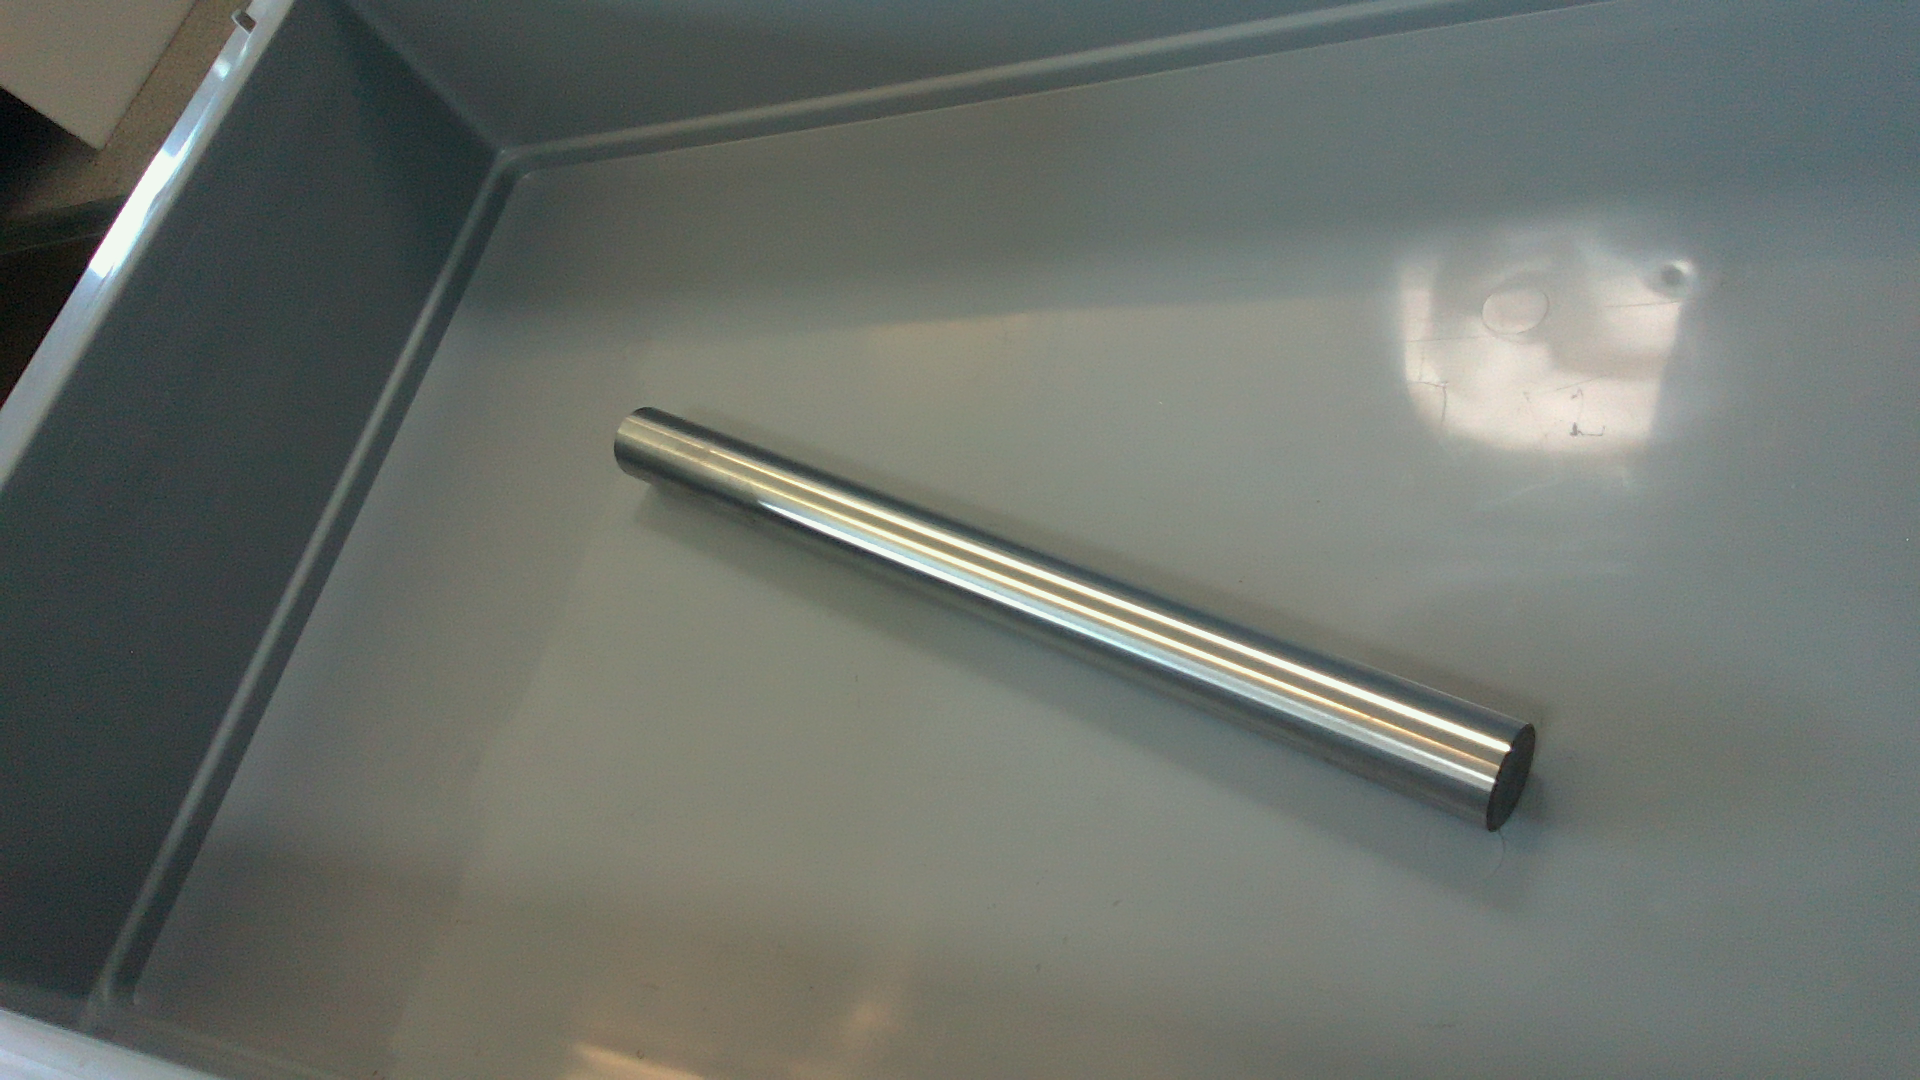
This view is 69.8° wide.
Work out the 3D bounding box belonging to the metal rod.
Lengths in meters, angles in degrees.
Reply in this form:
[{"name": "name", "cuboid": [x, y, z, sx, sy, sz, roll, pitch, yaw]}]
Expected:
[{"name": "metal rod", "cuboid": [0.004, 0.009, 0.384, 0.299, 0.025, 0.025, 20, 73, 36]}]
